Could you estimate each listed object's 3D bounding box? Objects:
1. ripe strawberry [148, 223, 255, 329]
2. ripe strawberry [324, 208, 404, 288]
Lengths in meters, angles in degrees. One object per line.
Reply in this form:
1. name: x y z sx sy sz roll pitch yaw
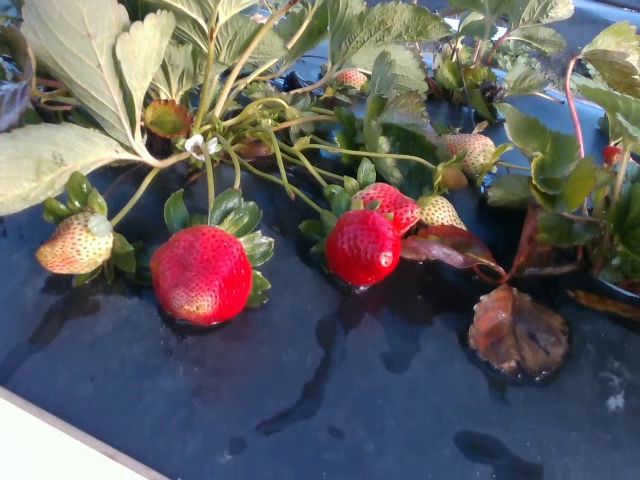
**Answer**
1. ripe strawberry: -0.055 0.017 0.267 0.050 0.050 0.065 -18 13 4
2. ripe strawberry: 0.023 0.007 0.302 0.044 0.042 0.055 -39 18 -6
